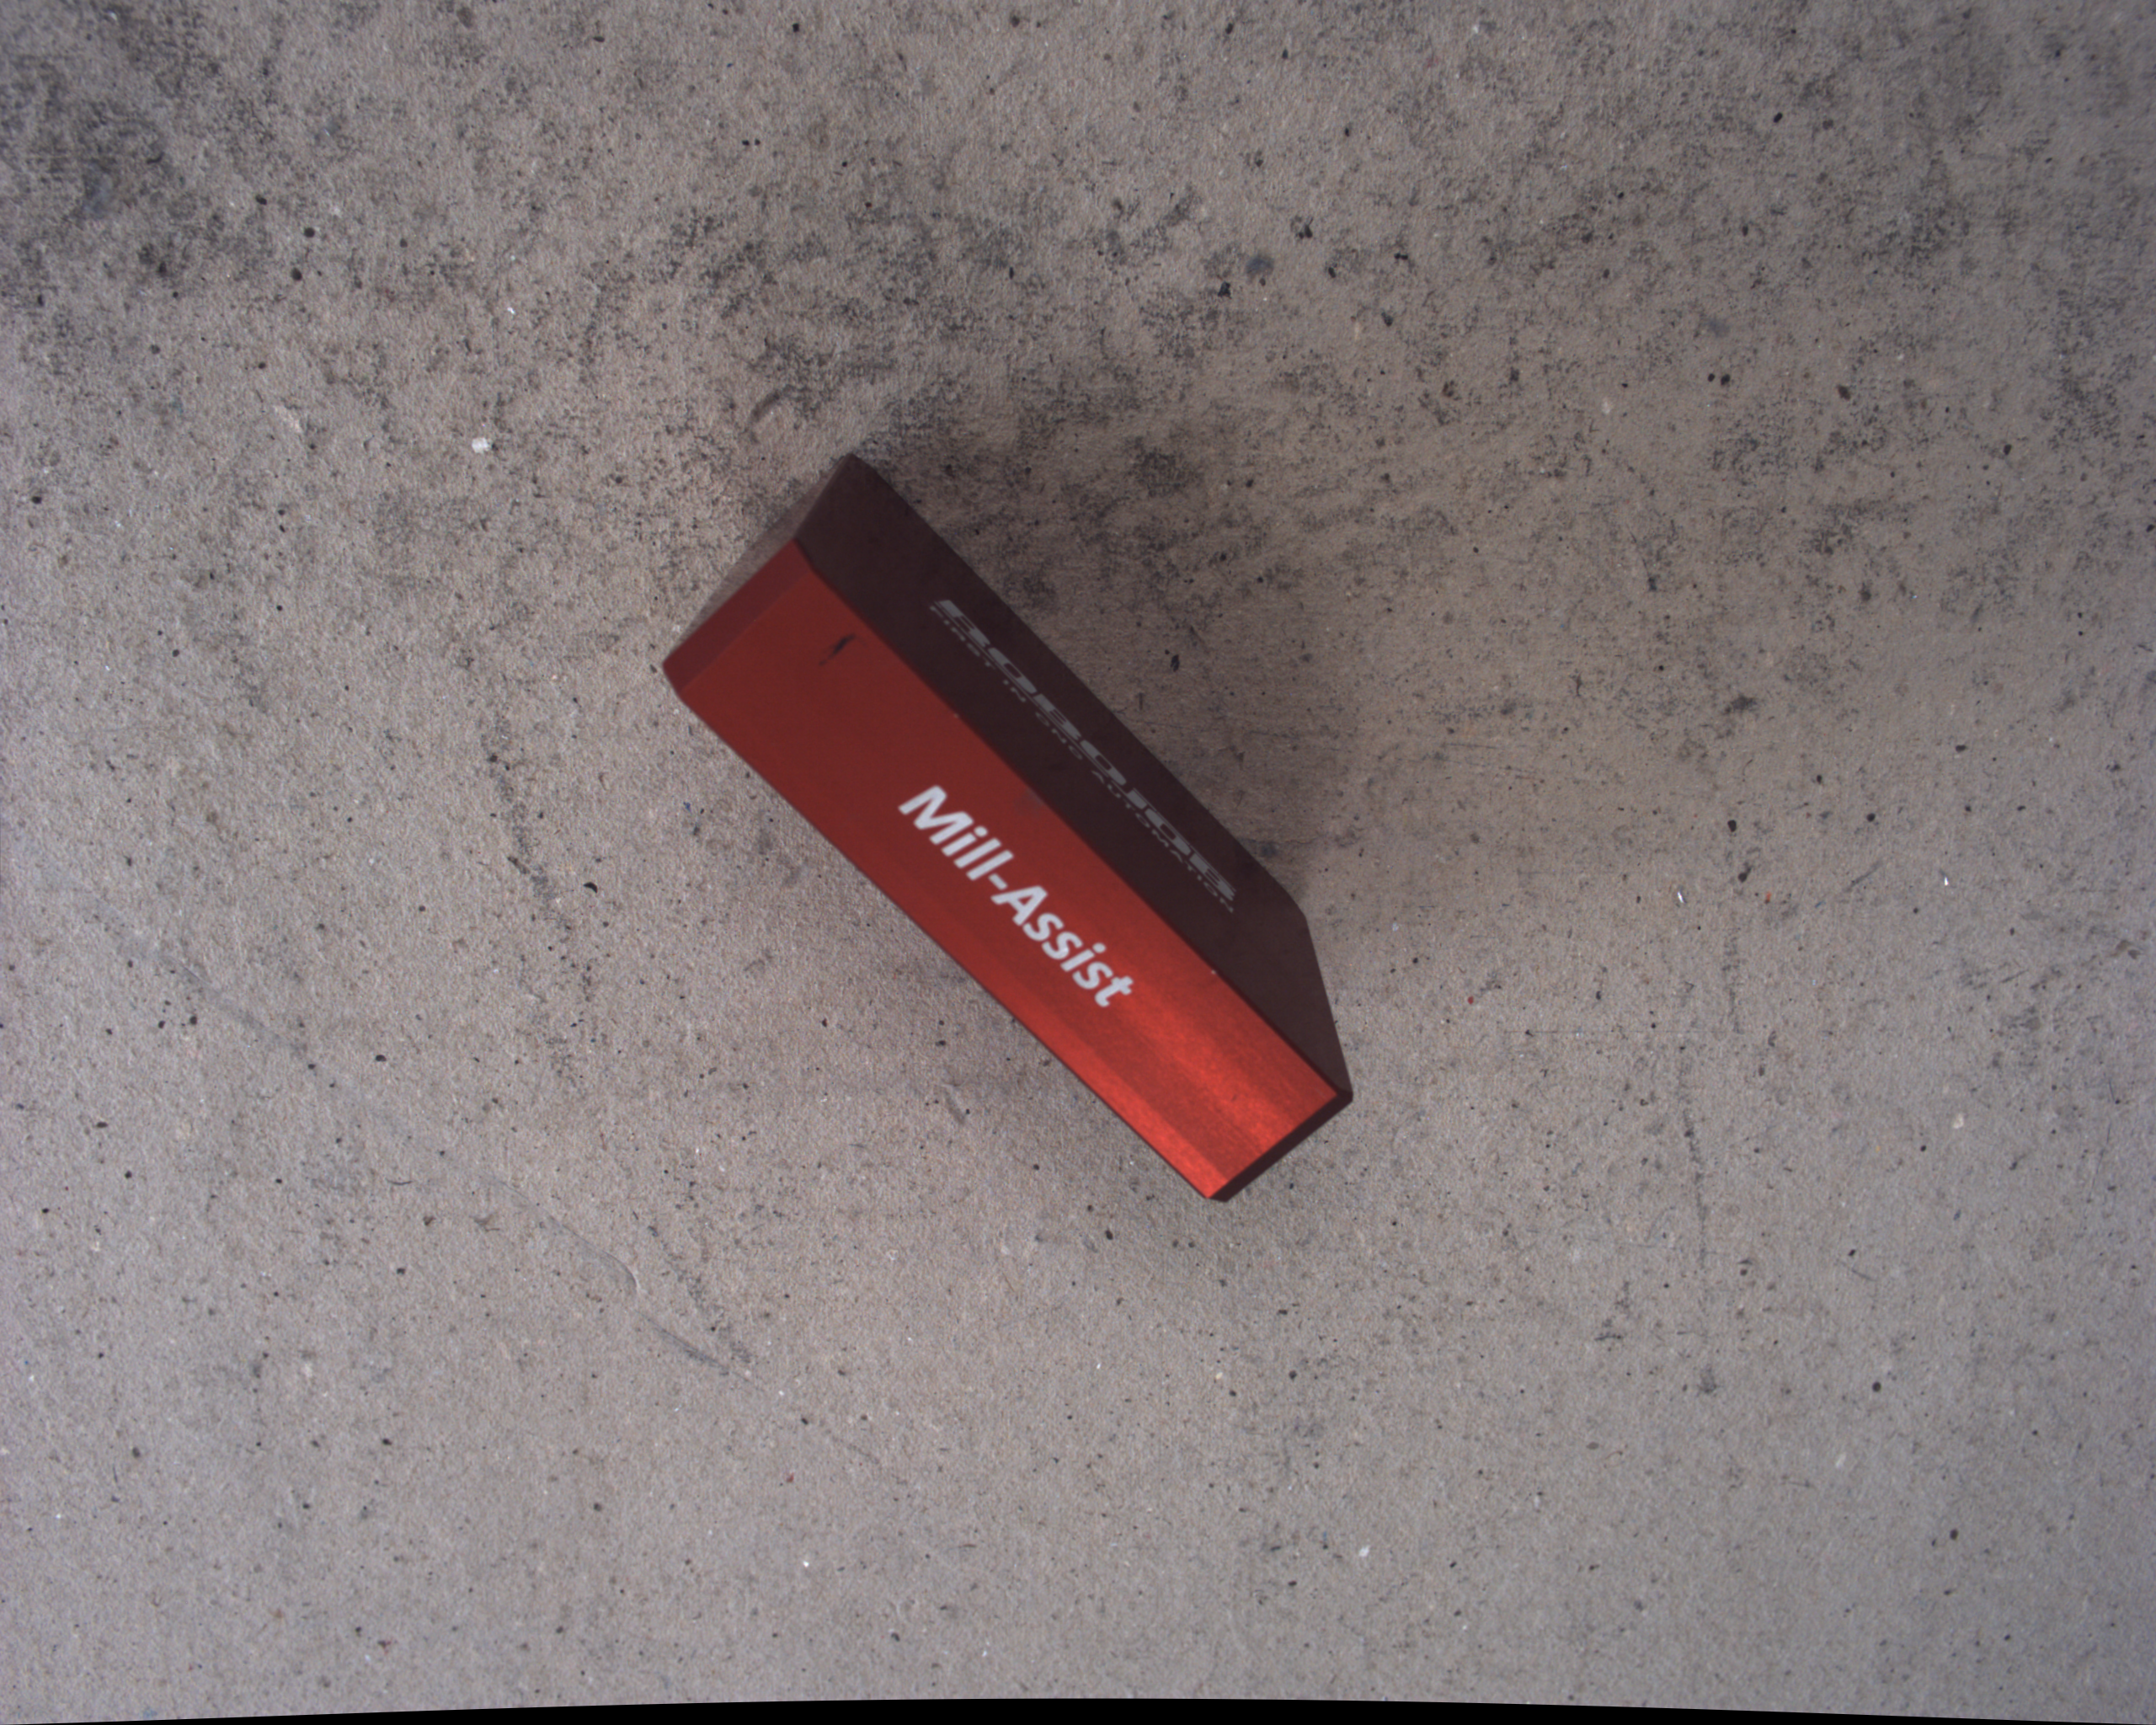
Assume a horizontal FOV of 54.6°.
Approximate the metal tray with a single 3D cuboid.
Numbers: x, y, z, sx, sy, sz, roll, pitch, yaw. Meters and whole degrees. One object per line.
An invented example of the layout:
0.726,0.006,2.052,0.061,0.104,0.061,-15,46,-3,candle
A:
-0.009,-0.009,0.372,0.030,0.090,0.130,-42,106,14,metal tray
